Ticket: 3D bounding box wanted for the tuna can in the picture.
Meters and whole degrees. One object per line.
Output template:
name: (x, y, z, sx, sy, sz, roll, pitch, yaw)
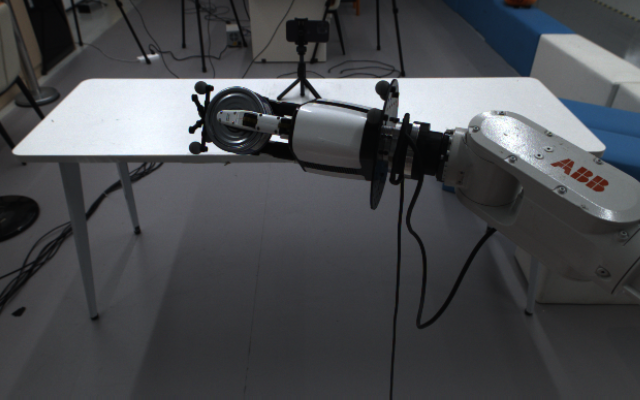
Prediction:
tuna can: (-0.103, -0.104, 0.631, 0.085, 0.085, 0.034, 10, 3, 11)
